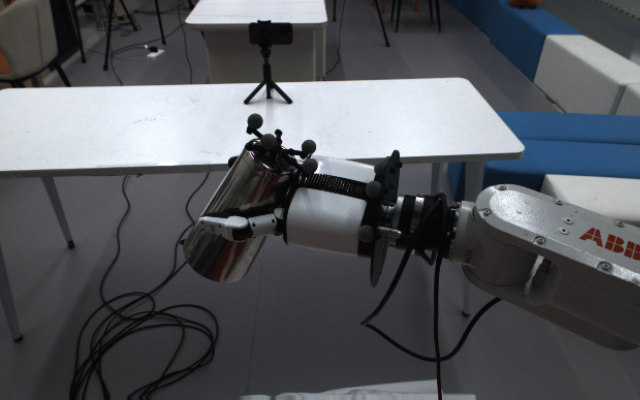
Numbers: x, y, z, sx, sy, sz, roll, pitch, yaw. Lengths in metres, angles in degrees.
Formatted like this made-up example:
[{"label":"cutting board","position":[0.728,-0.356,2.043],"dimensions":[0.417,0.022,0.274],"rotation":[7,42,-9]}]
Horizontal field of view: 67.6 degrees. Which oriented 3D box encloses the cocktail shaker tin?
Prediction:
[{"label":"cocktail shaker tin","position":[-0.092,0.008,0.592],"dimensions":[0.093,0.170,0.093],"rotation":[26,32,-17]}]
